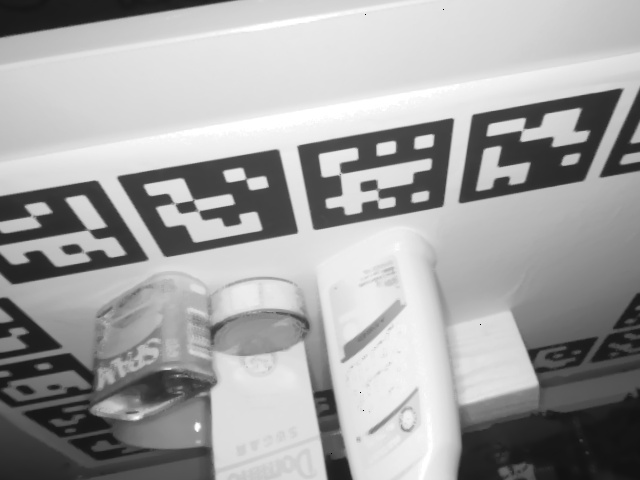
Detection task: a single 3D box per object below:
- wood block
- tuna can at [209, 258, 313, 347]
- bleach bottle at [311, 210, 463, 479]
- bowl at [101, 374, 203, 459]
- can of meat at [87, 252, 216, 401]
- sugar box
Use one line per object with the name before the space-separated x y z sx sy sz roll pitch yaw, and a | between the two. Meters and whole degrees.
wood block | 0.127 0.152 0.730 0.206 0.090 0.091 -16 139 7
tuna can | -0.051 0.053 0.587 0.086 0.034 0.085 -8 140 -6
bleach bottle | 0.060 0.104 0.508 0.101 0.252 0.068 -27 141 19
bowl | -0.135 0.162 0.694 0.162 0.055 0.160 -11 144 -7
can of meat | -0.135 0.069 0.553 0.100 0.084 0.058 -29 143 24
sugar box | -0.056 0.149 0.593 0.094 0.177 0.044 0 140 -20
